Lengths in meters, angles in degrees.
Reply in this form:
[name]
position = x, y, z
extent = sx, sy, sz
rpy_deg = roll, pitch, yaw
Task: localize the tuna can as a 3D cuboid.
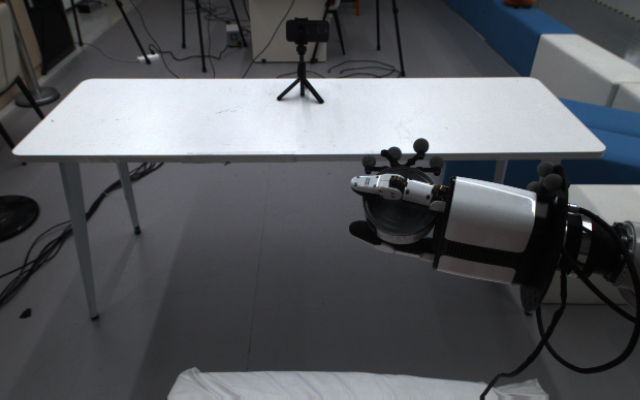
[tuna can]
position = 0.094, 0.005, 0.554
extent = 0.085, 0.034, 0.085
rpy_deg = -4, 61, 7
